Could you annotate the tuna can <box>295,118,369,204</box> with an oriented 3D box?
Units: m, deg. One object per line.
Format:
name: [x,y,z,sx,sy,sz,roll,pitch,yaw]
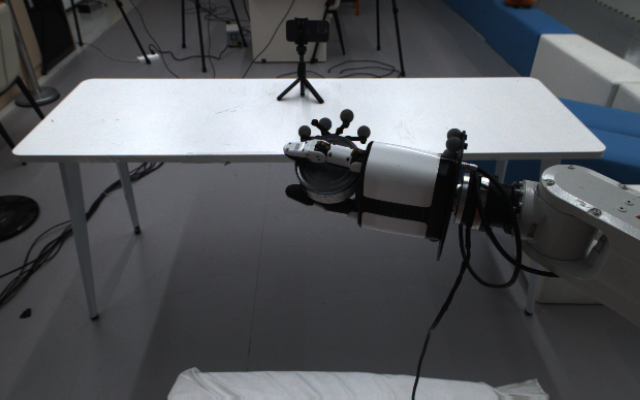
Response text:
tuna can: [0.013,-0.040,0.621,0.085,0.034,0.085,-4,61,7]
